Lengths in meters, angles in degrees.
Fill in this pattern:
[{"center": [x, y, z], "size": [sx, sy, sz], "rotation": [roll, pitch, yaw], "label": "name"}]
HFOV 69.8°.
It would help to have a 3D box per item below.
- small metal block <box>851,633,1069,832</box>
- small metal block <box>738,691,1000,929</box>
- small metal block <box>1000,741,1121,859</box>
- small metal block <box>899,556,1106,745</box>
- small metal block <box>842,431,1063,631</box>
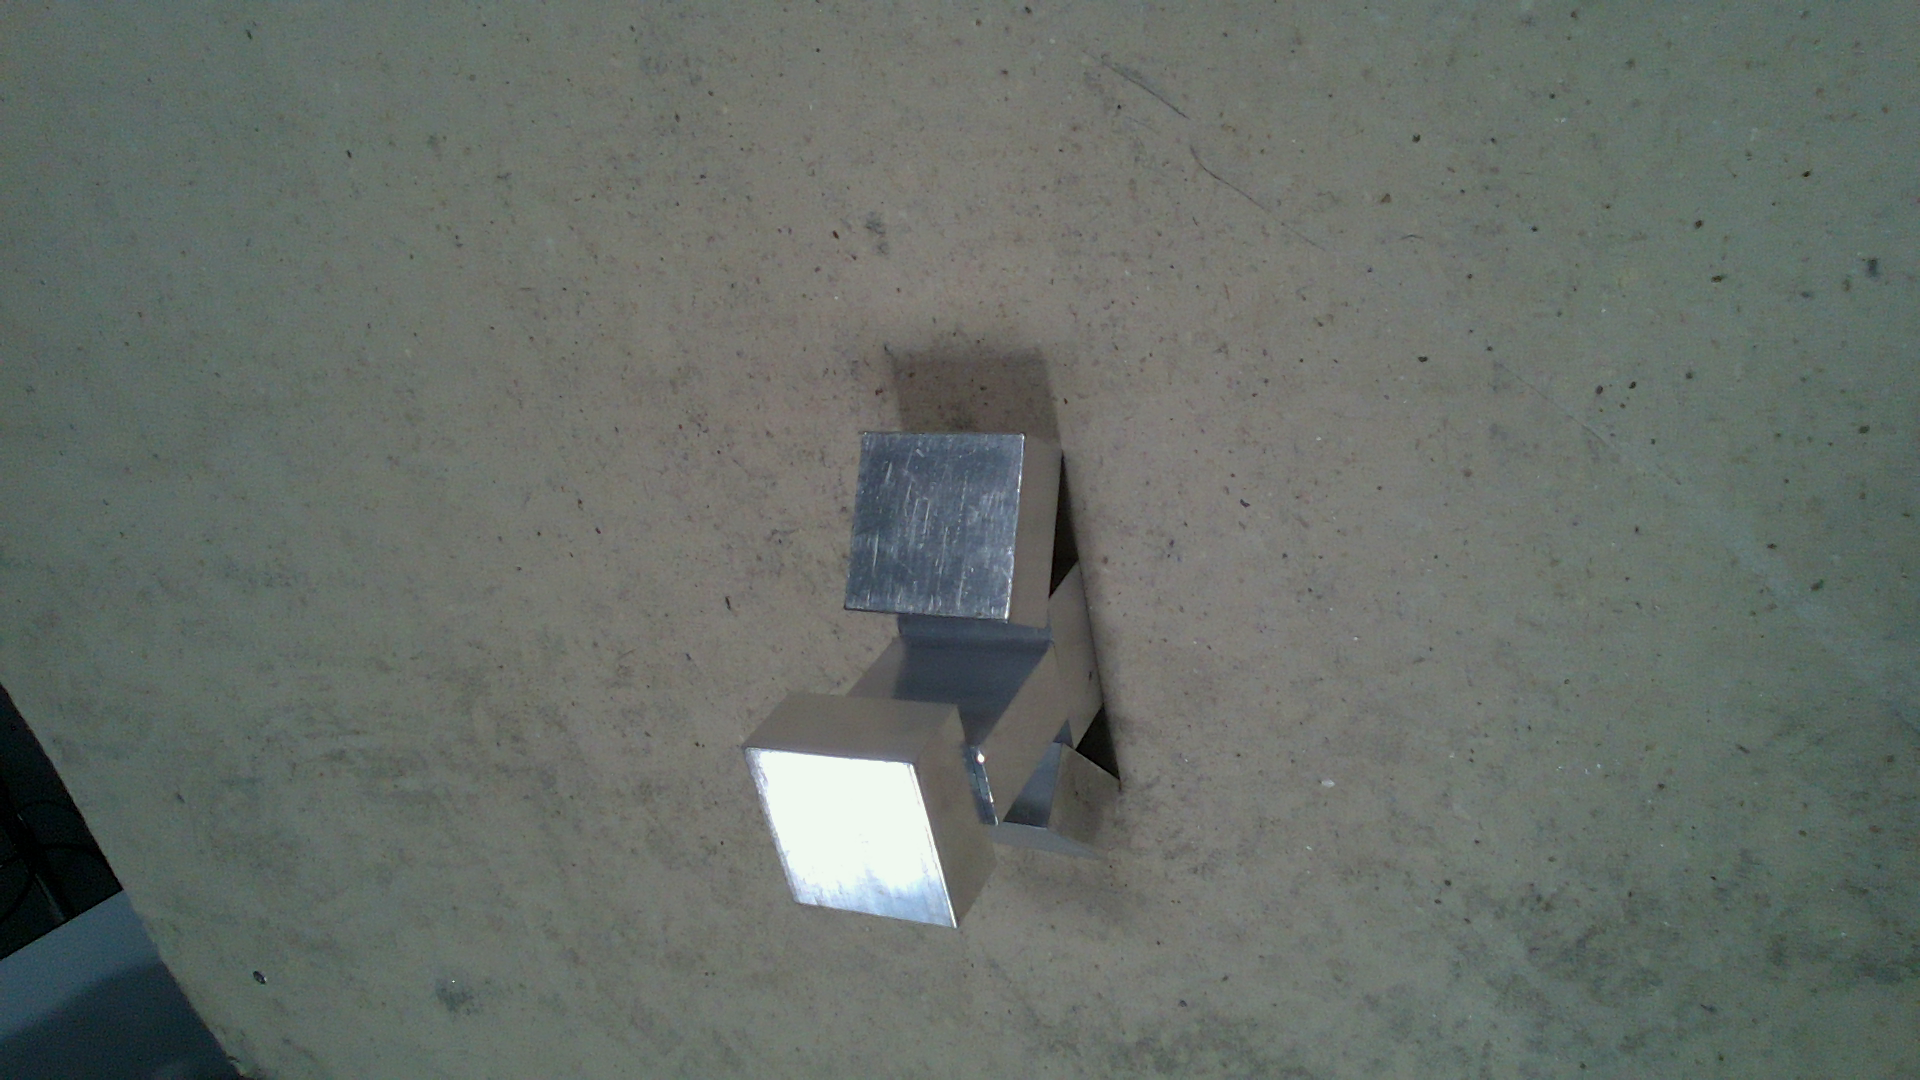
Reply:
[{"center": [-0.004, 0.051, 0.378], "size": [0.050, 0.050, 0.025], "rotation": [2, 120, 27], "label": "small metal block"}, {"center": [-0.022, 0.068, 0.350], "size": [0.050, 0.025, 0.050], "rotation": [1, 119, 28], "label": "small metal block"}, {"center": [0.015, 0.076, 0.416], "size": [0.050, 0.025, 0.050], "rotation": [2, 160, 27], "label": "small metal block"}, {"center": [0.012, 0.032, 0.407], "size": [0.050, 0.025, 0.050], "rotation": [2, 120, 27], "label": "small metal block"}, {"center": [-0.002, -0.003, 0.377], "size": [0.050, 0.025, 0.050], "rotation": [3, 84, 27], "label": "small metal block"}]
